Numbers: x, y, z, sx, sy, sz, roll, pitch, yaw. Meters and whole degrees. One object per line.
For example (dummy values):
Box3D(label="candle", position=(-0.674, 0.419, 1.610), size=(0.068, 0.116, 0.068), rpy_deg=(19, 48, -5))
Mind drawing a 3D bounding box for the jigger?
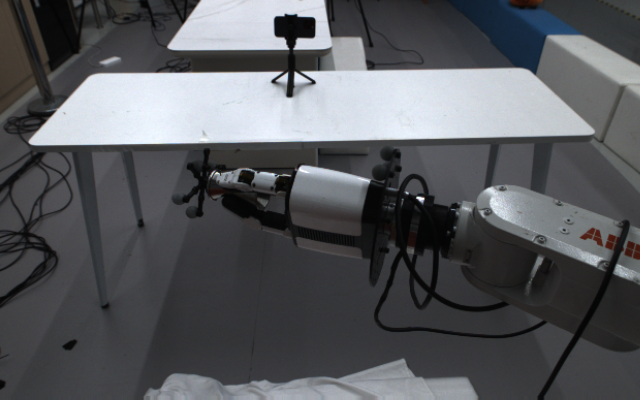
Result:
Box3D(label="jigger", position=(-0.095, -0.018, 0.601), size=(0.071, 0.043, 0.043), rpy_deg=(10, 35, 16))
